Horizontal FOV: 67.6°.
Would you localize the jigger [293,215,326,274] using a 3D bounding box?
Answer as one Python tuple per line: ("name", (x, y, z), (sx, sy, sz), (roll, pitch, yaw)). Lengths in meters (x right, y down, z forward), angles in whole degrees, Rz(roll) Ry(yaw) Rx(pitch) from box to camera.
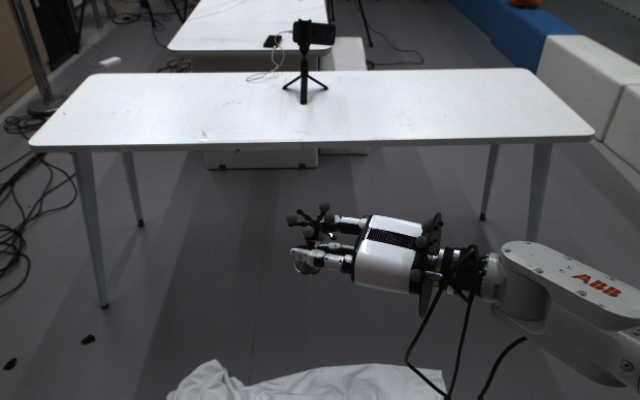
("jigger", (-0.015, 0.080, 0.776), (0.043, 0.071, 0.043), (9, 30, -5))
